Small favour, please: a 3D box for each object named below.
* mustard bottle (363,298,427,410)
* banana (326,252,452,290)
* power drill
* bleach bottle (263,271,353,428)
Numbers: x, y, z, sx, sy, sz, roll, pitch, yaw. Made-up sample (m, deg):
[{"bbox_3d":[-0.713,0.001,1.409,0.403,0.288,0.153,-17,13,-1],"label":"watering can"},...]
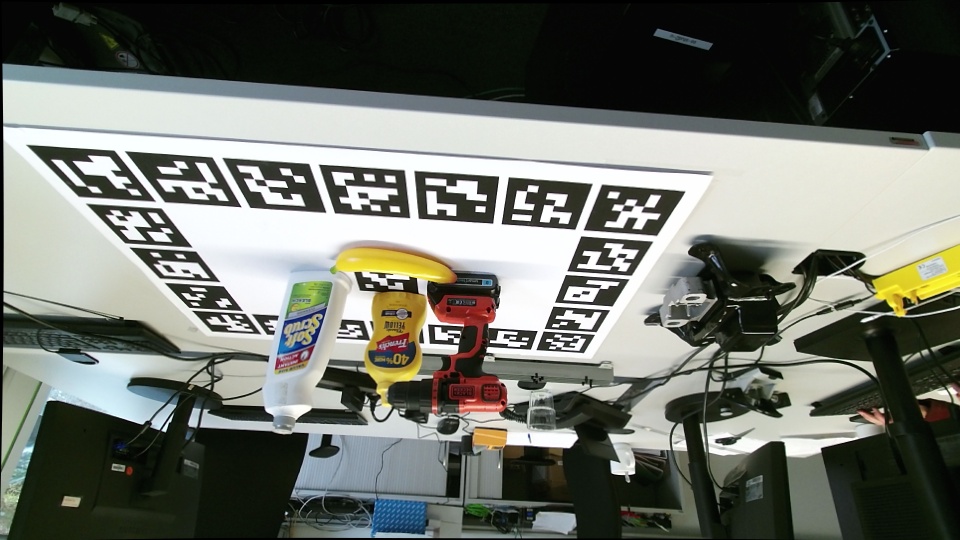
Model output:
[{"bbox_3d":[-0.147,0.143,0.907,0.096,0.190,0.058,5,148,-1],"label":"mustard bottle"},{"bbox_3d":[-0.141,0.005,0.825,0.198,0.038,0.074,4,144,-5],"label":"banana"},{"bbox_3d":[-0.042,0.133,0.847,0.185,0.186,0.057,4,155,3],"label":"power drill"},{"bbox_3d":[-0.275,0.122,0.844,0.103,0.249,0.068,-1,147,6],"label":"bleach bottle"}]
